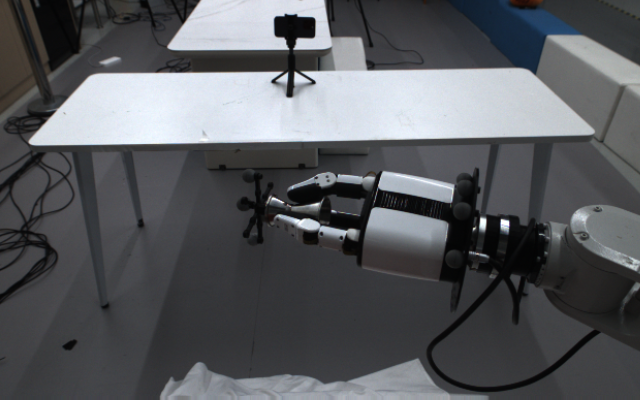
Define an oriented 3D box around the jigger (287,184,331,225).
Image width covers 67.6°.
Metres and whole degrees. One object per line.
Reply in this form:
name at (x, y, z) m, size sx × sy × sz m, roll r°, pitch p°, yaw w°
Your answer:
jigger at (-0.018, 0.012, 0.571) m, size 0.071 × 0.043 × 0.043 m, roll 5°, pitch 34°, yaw 17°
